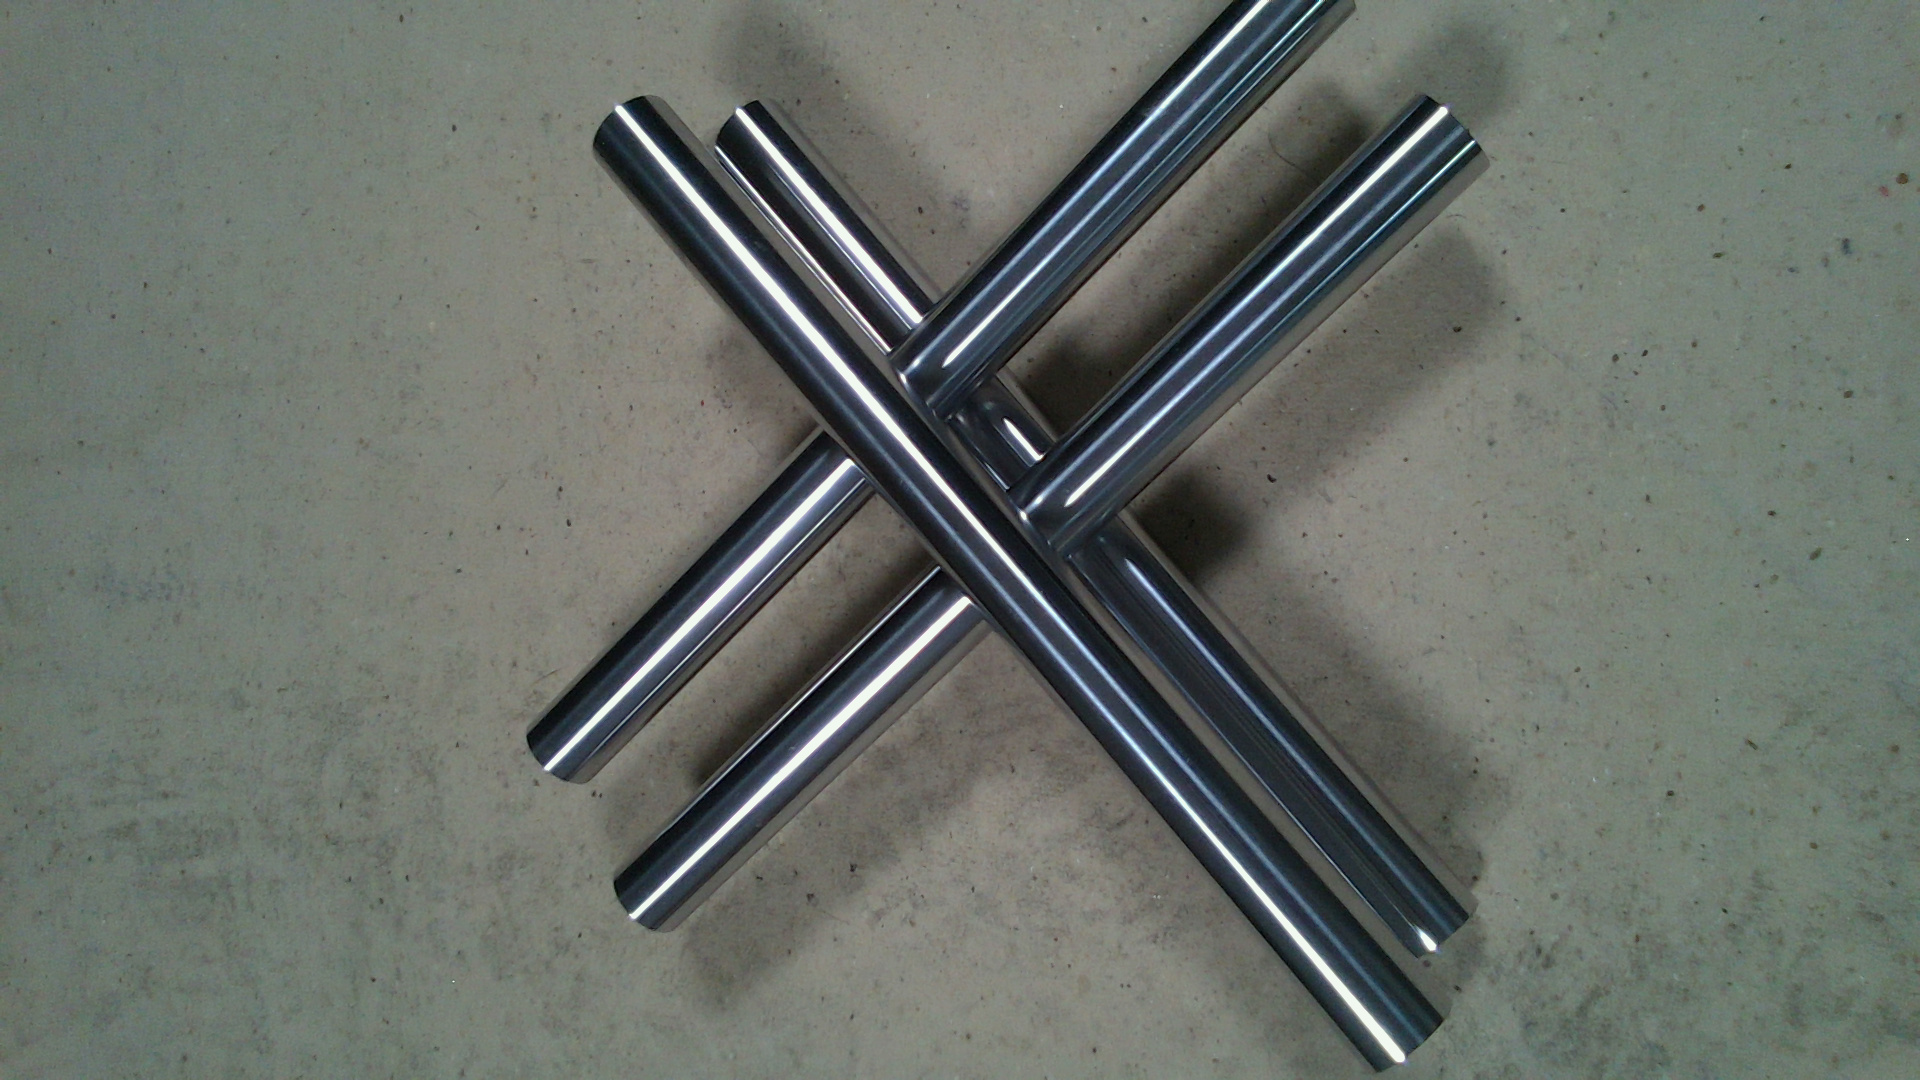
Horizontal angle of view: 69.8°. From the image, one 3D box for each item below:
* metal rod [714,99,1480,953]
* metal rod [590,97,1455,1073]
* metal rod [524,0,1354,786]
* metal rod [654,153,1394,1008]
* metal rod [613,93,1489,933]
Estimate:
[{"bbox_3d":[0.029,-0.012,0.385,0.025,0.025,0.300,-44,77,15],"label":"metal rod"},{"bbox_3d":[0.005,0.000,0.341,0.025,0.025,0.300,-44,76,15],"label":"metal rod"},{"bbox_3d":[-0.016,-0.037,0.375,0.300,0.025,0.025,-44,76,15],"label":"metal rod"},{"bbox_3d":[0.010,0.002,0.392,0.025,0.025,0.300,-44,77,15],"label":"metal rod"},{"bbox_3d":[0.013,0.004,0.365,0.300,0.025,0.025,-44,76,15],"label":"metal rod"}]
